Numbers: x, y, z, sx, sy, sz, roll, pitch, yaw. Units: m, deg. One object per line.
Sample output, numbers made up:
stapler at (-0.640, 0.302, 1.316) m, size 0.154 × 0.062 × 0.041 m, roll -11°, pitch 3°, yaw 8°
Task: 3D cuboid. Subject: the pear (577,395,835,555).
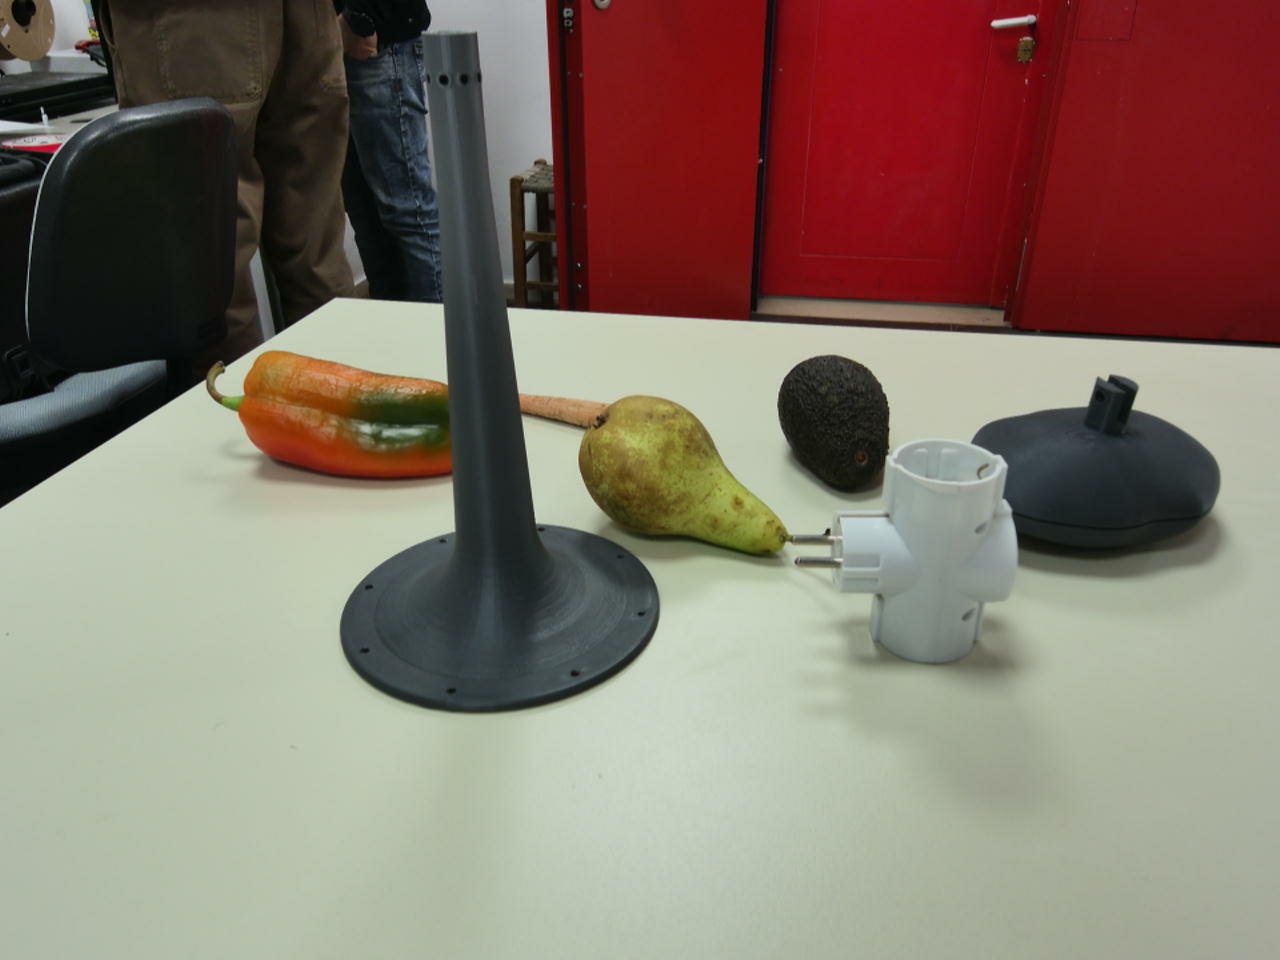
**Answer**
pear at (0.037, -0.004, 0.528) m, size 0.144 × 0.075 × 0.071 m, roll 8°, pitch 27°, yaw 18°
